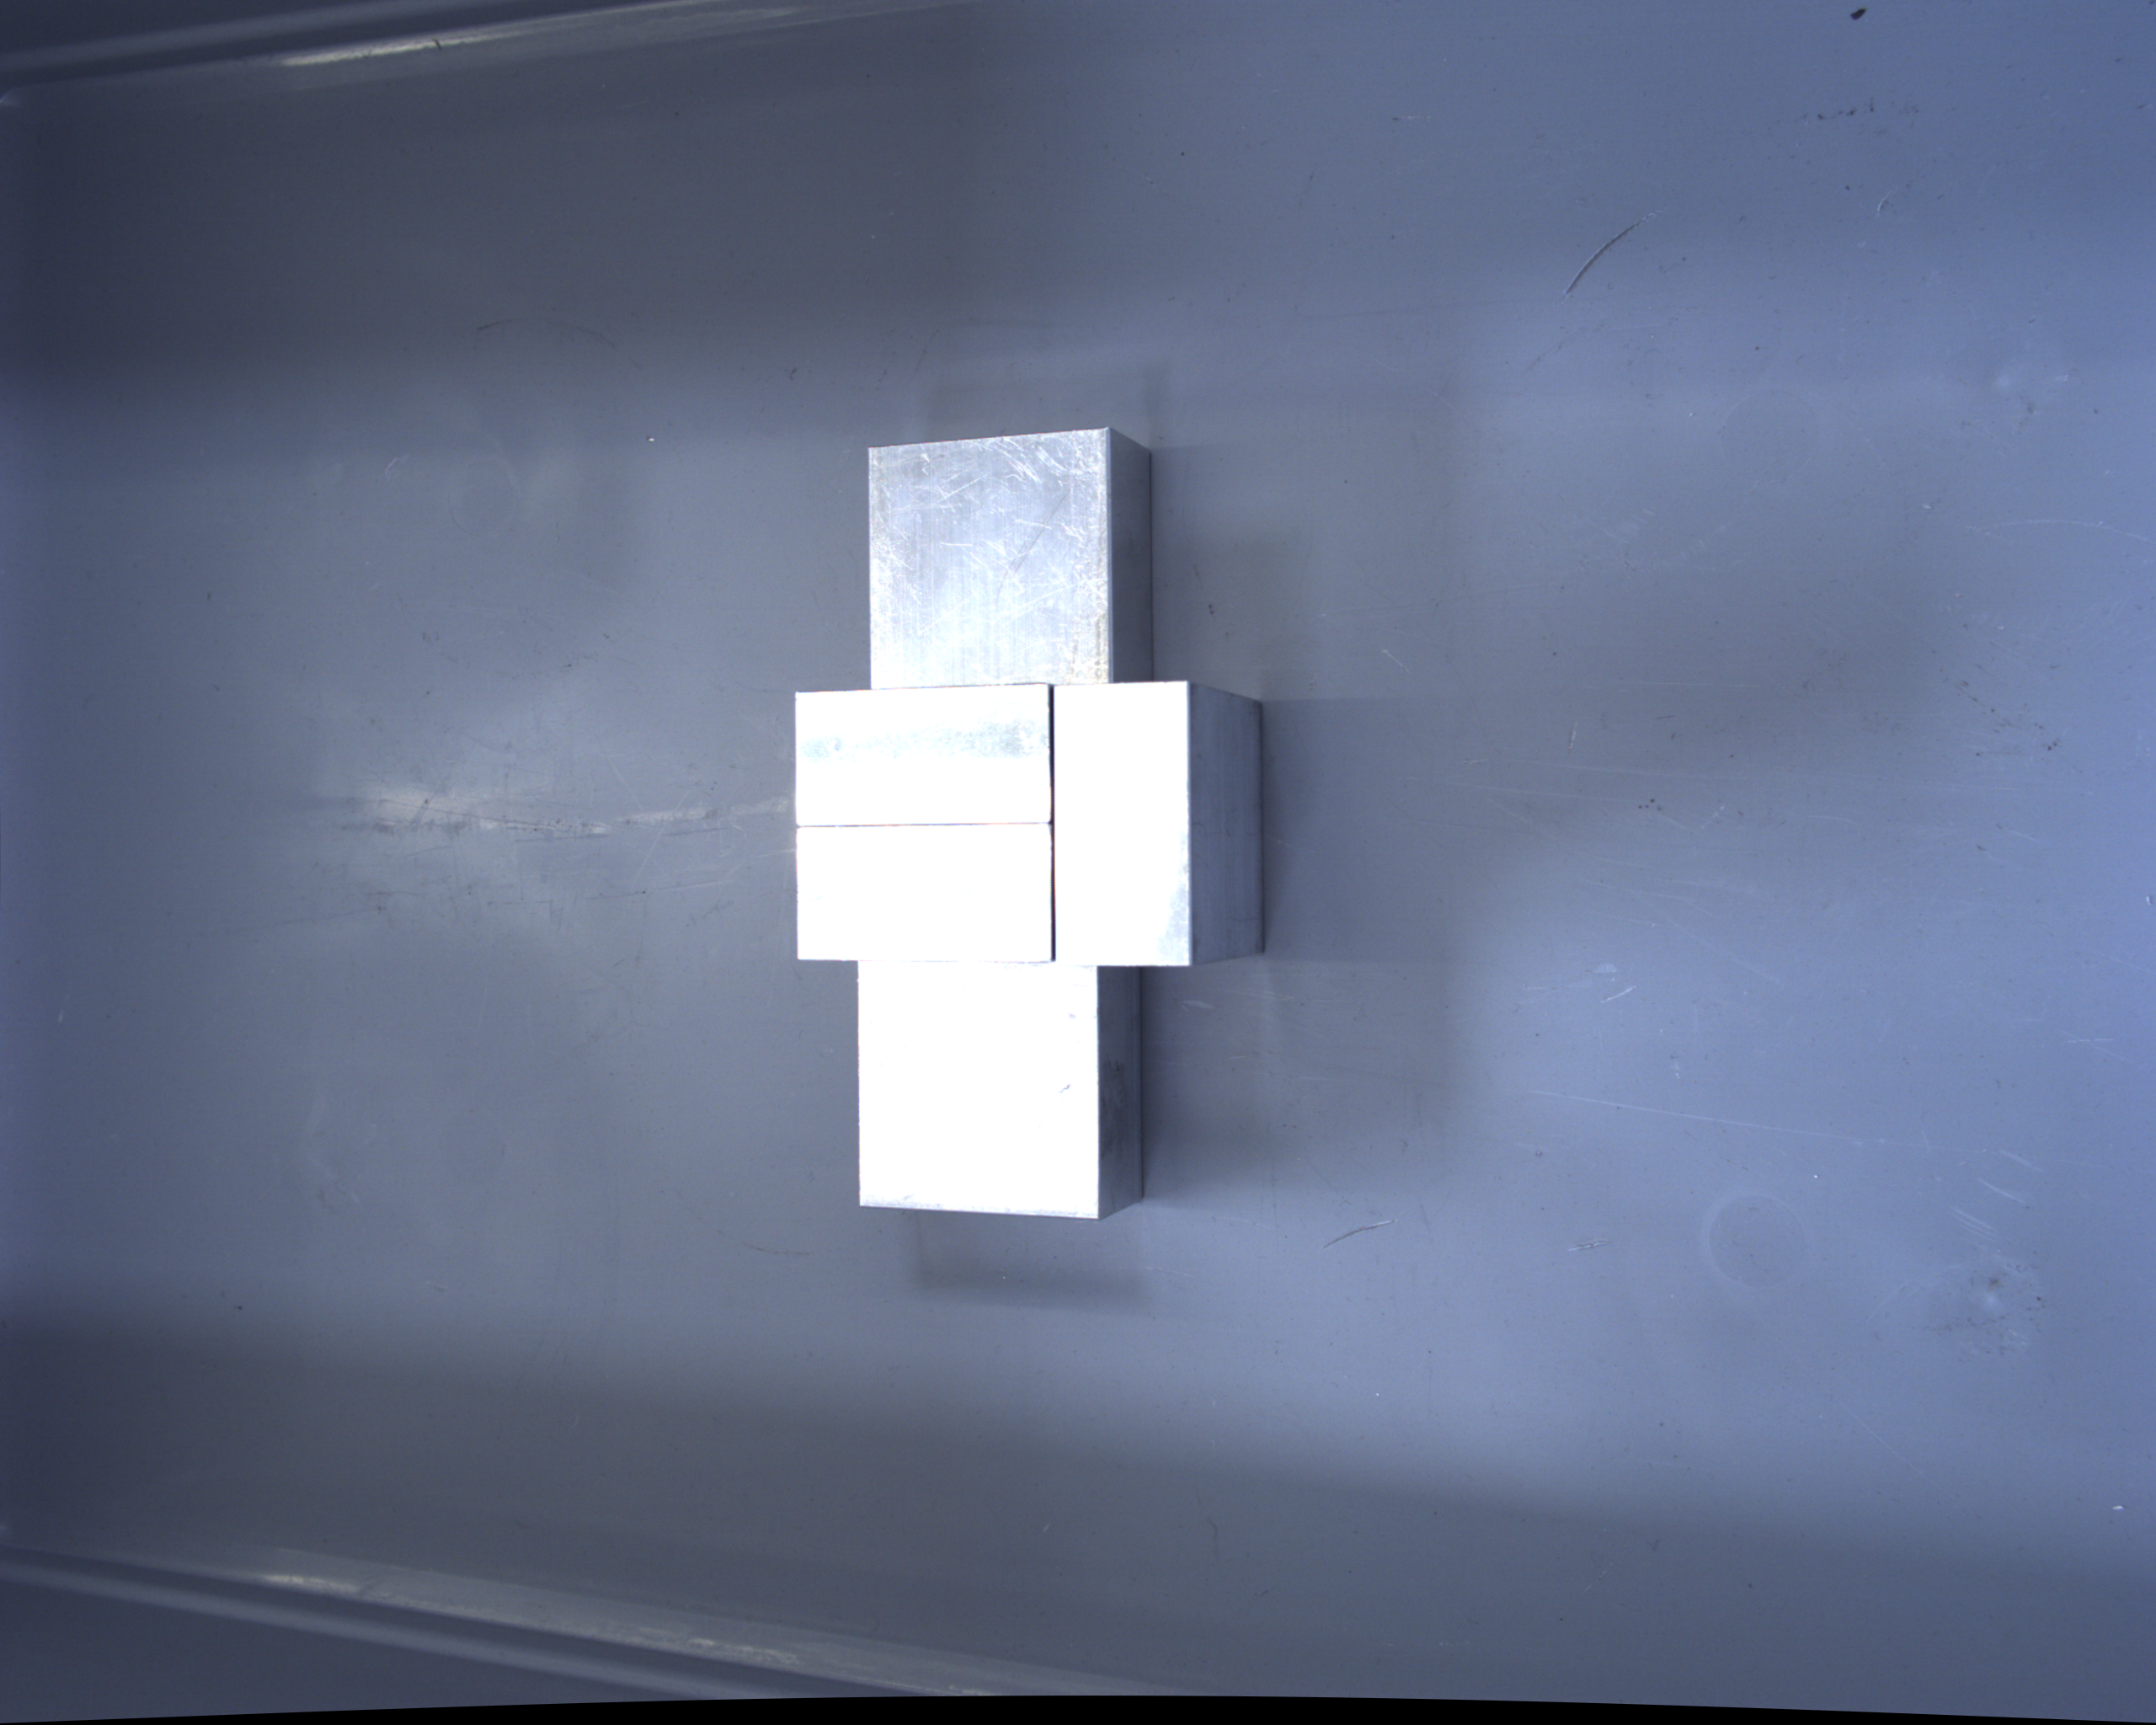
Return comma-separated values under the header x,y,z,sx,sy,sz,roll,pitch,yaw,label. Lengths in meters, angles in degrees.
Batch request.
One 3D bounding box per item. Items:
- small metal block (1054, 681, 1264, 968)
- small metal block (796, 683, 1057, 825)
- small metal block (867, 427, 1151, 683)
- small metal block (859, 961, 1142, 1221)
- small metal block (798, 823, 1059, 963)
x,y,z,sx,sy,sz,roll,pitch,yaw,label
0.016,-0.007,0.390,0.025,0.050,0.050,0,90,20,small metal block
-0.020,-0.020,0.402,0.050,0.050,0.025,0,90,20,small metal block
-0.013,-0.057,0.413,0.050,0.025,0.050,0,90,20,small metal block
-0.015,0.043,0.414,0.050,0.025,0.050,0,90,20,small metal block
-0.020,0.005,0.402,0.050,0.050,0.025,0,90,20,small metal block
